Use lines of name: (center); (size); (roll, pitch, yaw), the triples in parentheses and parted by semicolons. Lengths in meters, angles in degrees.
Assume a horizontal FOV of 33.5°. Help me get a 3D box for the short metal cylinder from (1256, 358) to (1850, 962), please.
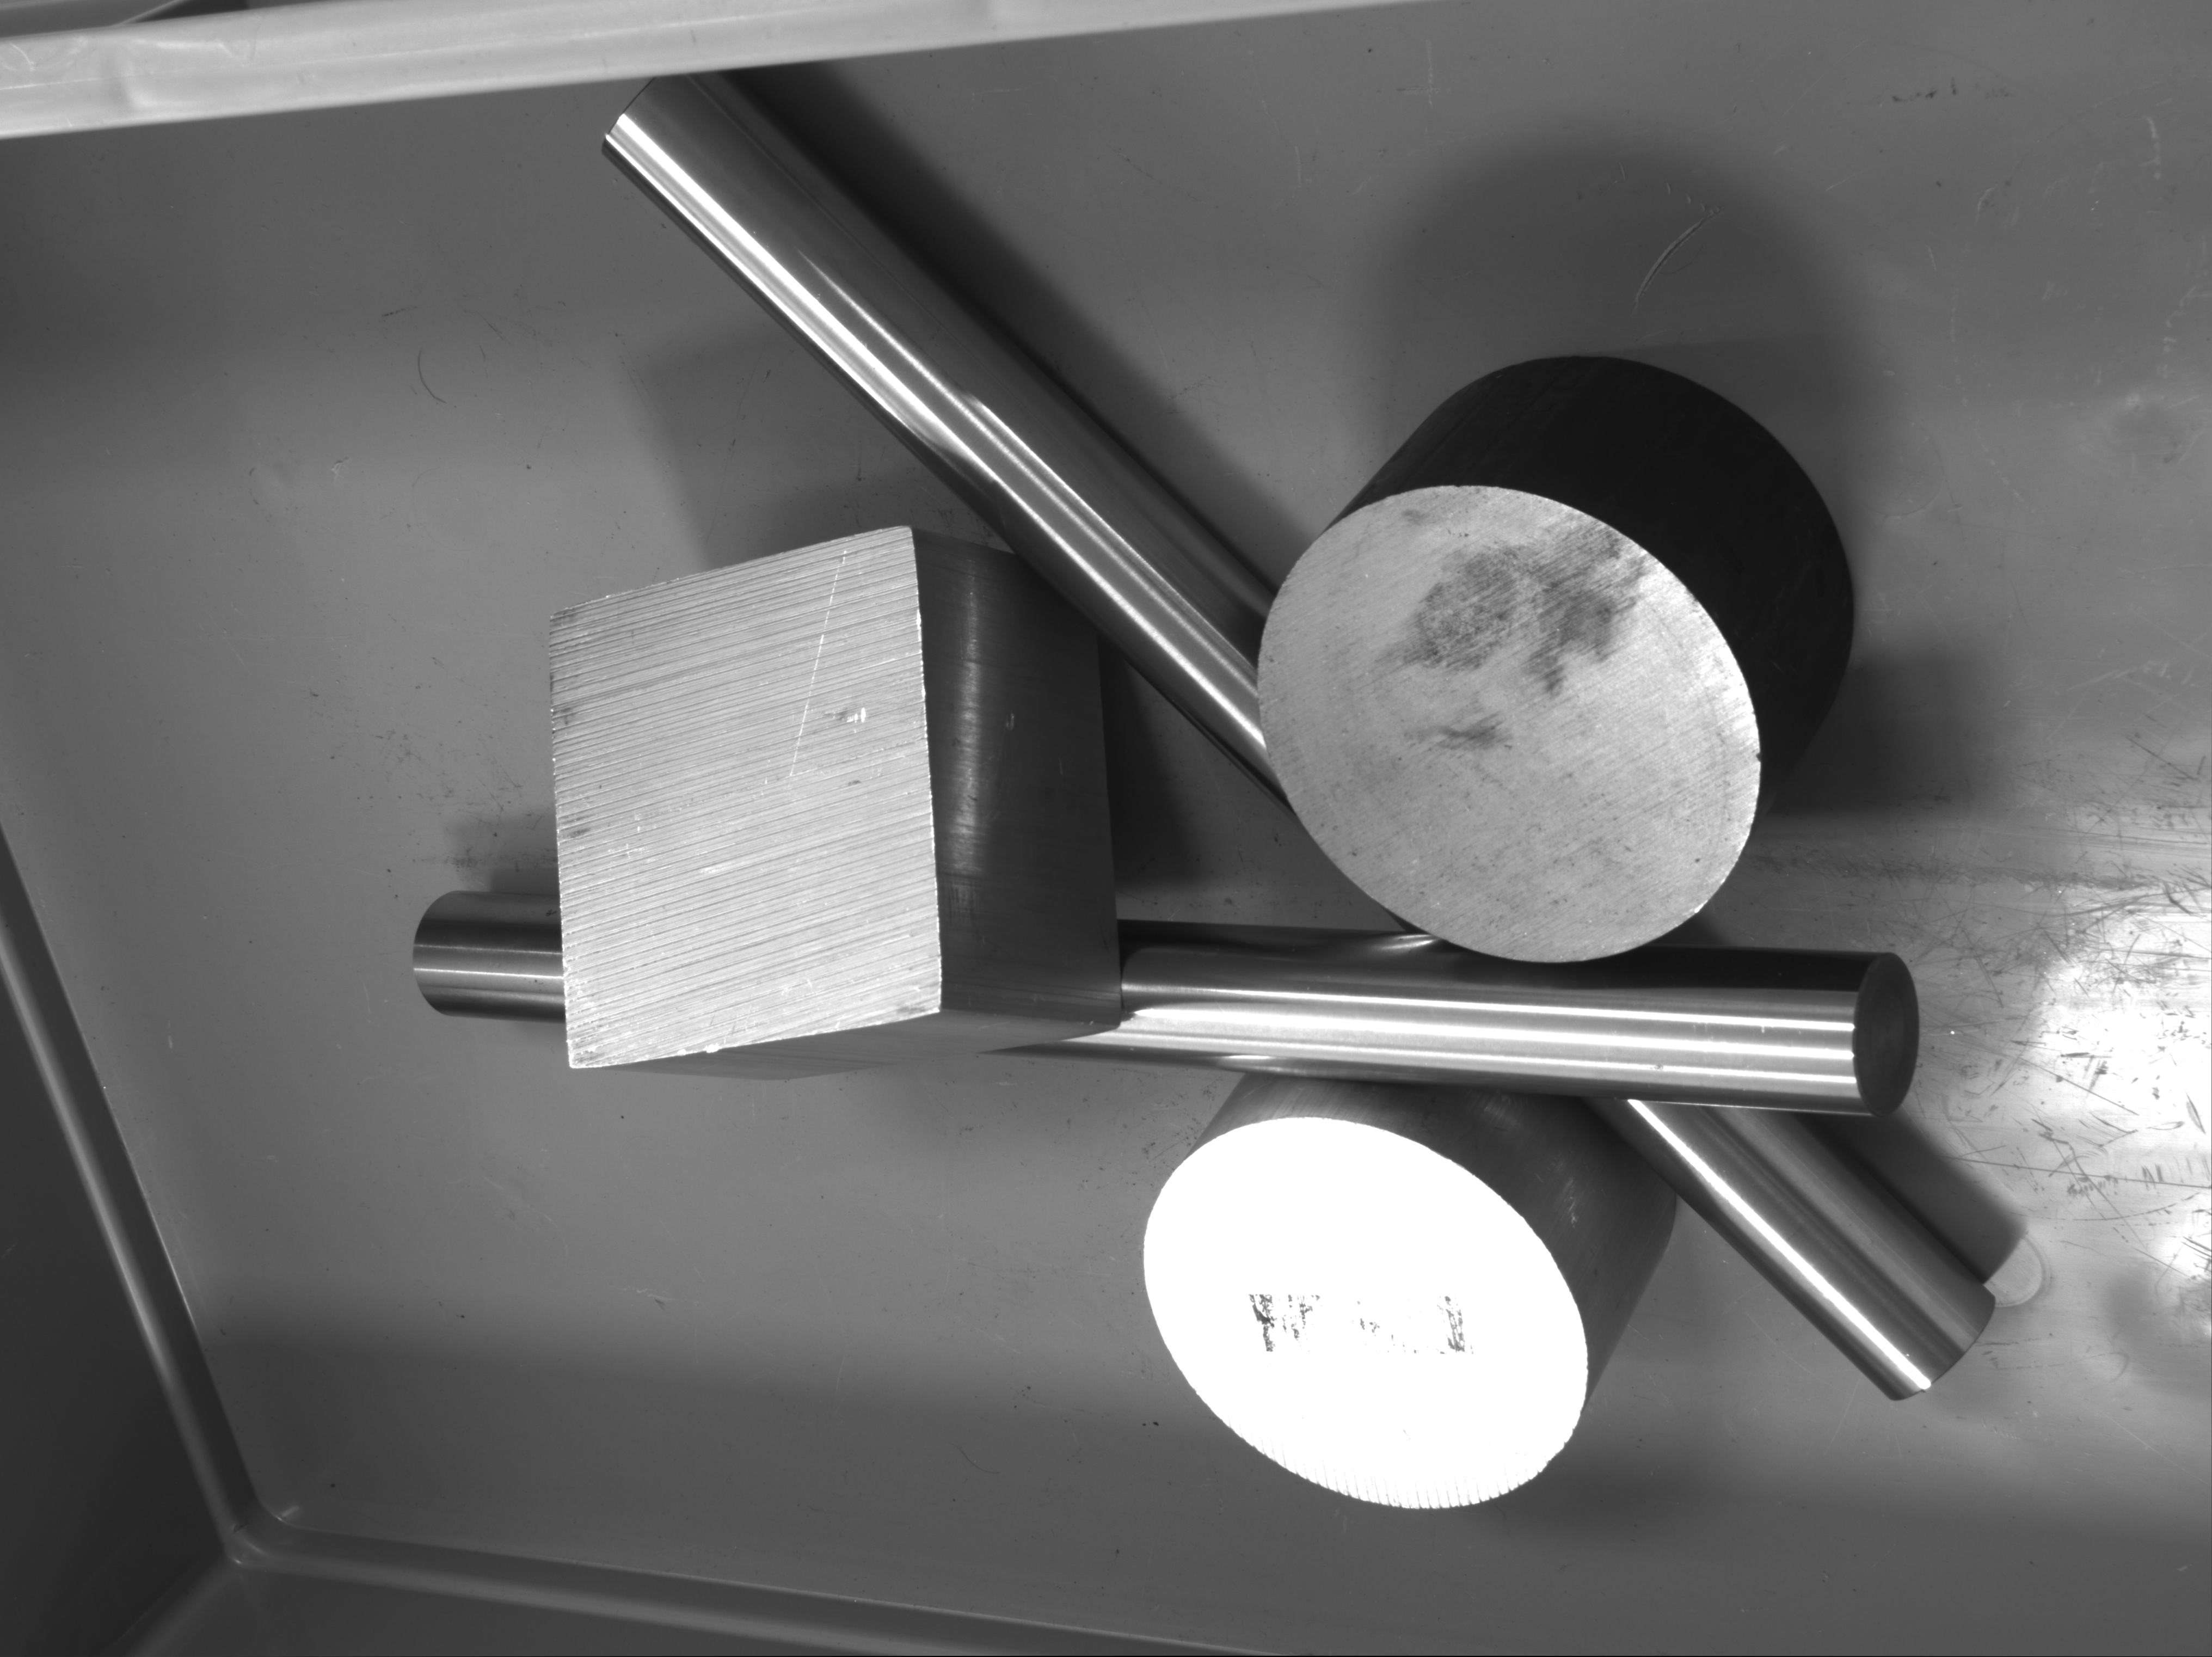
short metal cylinder: (0.070, -0.026, 0.572); (0.080, 0.050, 0.080); (13, 124, 21)

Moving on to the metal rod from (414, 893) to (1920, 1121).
metal rod: (-0.005, 0.028, 0.640); (0.299, 0.025, 0.025); (1, 119, 35)

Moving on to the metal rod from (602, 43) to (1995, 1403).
metal rod: (0.033, -0.016, 0.614); (0.300, 0.025, 0.025); (44, 129, -2)

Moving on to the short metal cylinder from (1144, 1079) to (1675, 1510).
short metal cylinder: (0.053, 0.071, 0.640); (0.080, 0.050, 0.080); (13, 124, 21)

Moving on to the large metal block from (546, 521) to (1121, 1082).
large metal block: (-0.047, -0.001, 0.626); (0.080, 0.050, 0.080); (-10, 78, 33)
